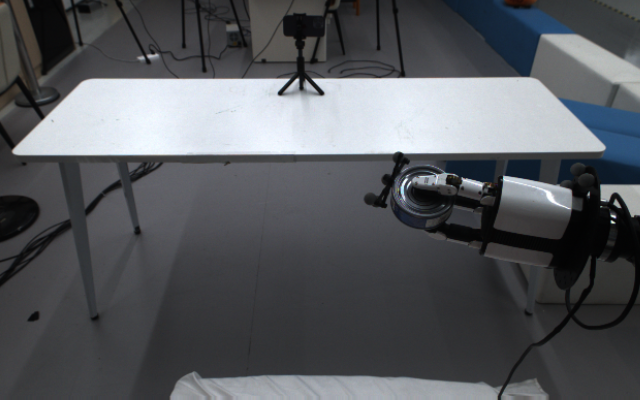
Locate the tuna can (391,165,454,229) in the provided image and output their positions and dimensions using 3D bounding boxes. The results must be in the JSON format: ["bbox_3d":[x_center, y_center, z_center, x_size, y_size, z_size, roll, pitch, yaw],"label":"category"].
[{"bbox_3d":[0.142,-0.007,0.657,0.085,0.034,0.085,-1,61,1],"label":"tuna can"}]
